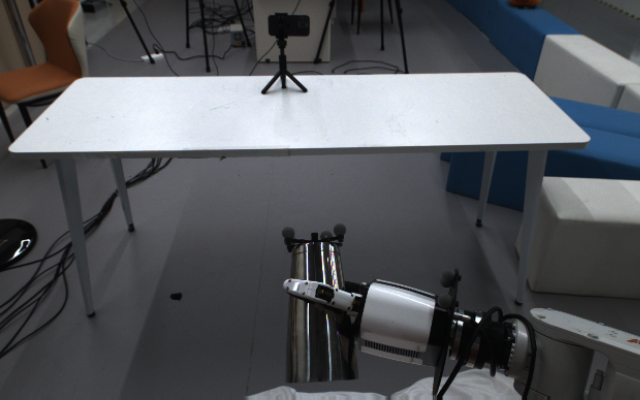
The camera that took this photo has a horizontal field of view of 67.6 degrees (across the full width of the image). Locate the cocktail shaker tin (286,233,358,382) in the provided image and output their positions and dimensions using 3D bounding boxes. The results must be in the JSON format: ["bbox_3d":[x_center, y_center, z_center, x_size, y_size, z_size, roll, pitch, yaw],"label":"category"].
[{"bbox_3d":[-0.001,0.146,0.626,0.093,0.093,0.170,-2,68,-5],"label":"cocktail shaker tin"}]
